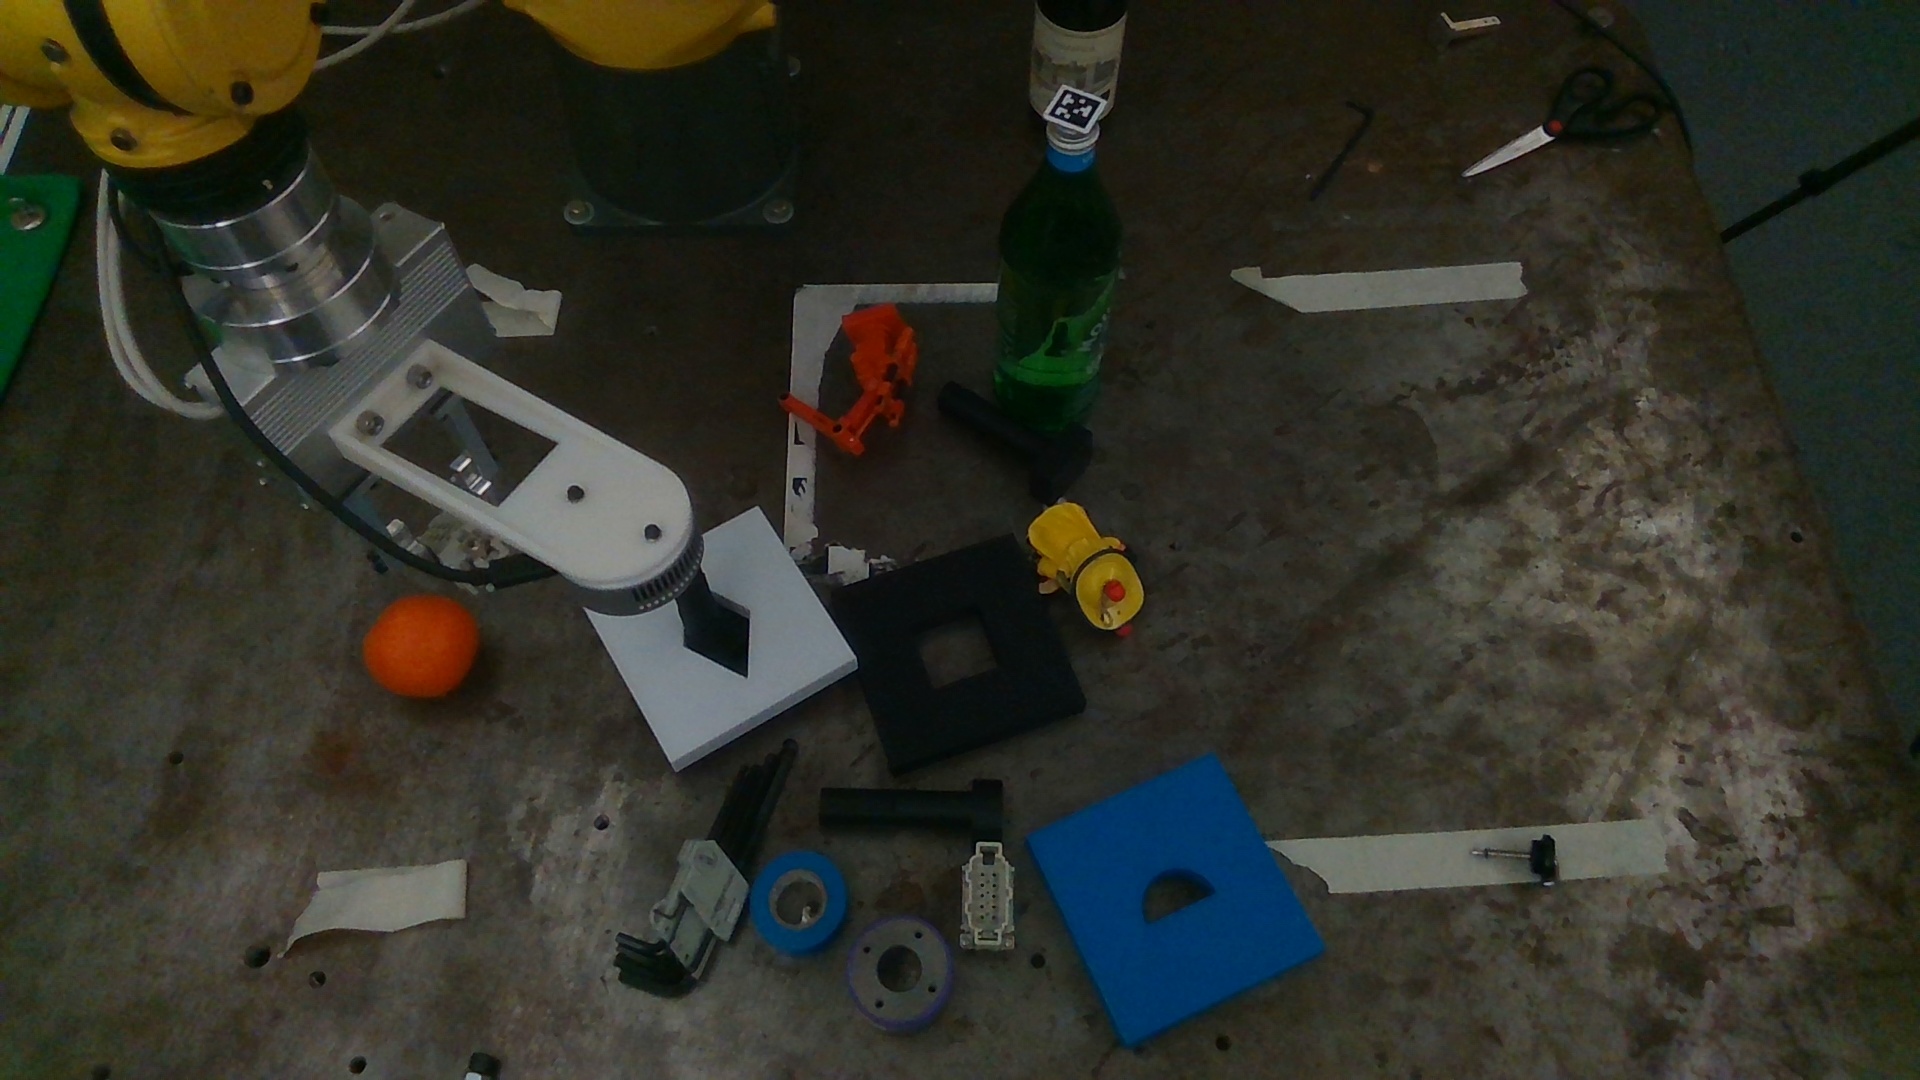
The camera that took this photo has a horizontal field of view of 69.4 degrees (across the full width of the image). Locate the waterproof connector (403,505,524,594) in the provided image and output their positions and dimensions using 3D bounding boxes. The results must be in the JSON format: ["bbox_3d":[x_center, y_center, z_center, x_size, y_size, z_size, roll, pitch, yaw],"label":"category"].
[{"bbox_3d":[-0.262,0.007,0.735,0.069,0.038,0.036,-1,46,45],"label":"waterproof connector"}]
